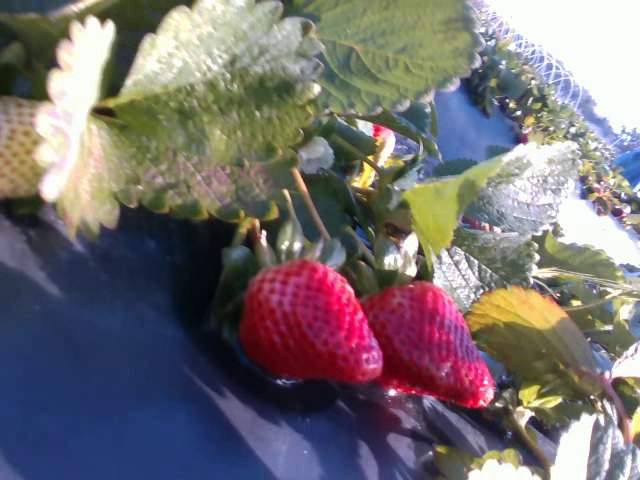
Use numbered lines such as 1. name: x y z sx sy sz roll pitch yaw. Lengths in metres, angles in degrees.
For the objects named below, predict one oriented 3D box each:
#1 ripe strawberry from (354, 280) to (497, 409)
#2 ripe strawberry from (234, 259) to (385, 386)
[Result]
1. ripe strawberry: 0.039 0.040 0.204 0.052 0.046 0.058 -15 42 -36
2. ripe strawberry: 0.000 0.027 0.166 0.043 0.036 0.052 -26 51 -35
